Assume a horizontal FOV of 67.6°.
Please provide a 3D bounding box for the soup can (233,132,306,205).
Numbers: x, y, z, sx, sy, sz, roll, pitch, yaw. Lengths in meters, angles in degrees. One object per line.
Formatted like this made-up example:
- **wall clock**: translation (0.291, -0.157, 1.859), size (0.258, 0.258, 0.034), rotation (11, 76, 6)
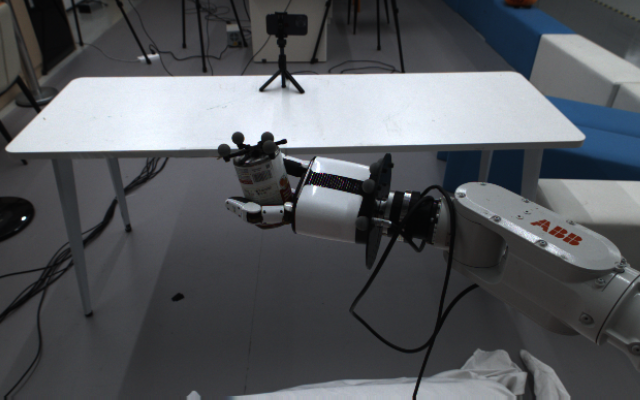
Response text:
- **soup can**: translation (-0.074, -0.019, 0.674), size (0.067, 0.101, 0.067), rotation (-11, 27, 6)
